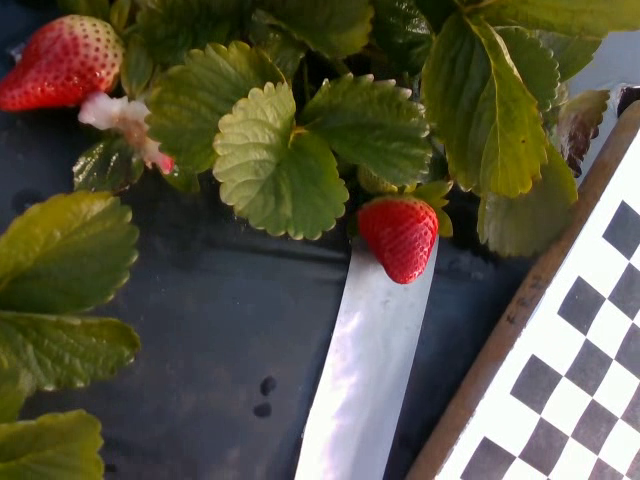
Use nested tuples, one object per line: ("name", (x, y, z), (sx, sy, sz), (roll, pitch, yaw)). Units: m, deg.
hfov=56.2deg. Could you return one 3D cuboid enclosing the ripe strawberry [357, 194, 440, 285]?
("ripe strawberry", (0.040, 0.002, 0.270), (0.050, 0.055, 0.035), (31, -25, -26))
